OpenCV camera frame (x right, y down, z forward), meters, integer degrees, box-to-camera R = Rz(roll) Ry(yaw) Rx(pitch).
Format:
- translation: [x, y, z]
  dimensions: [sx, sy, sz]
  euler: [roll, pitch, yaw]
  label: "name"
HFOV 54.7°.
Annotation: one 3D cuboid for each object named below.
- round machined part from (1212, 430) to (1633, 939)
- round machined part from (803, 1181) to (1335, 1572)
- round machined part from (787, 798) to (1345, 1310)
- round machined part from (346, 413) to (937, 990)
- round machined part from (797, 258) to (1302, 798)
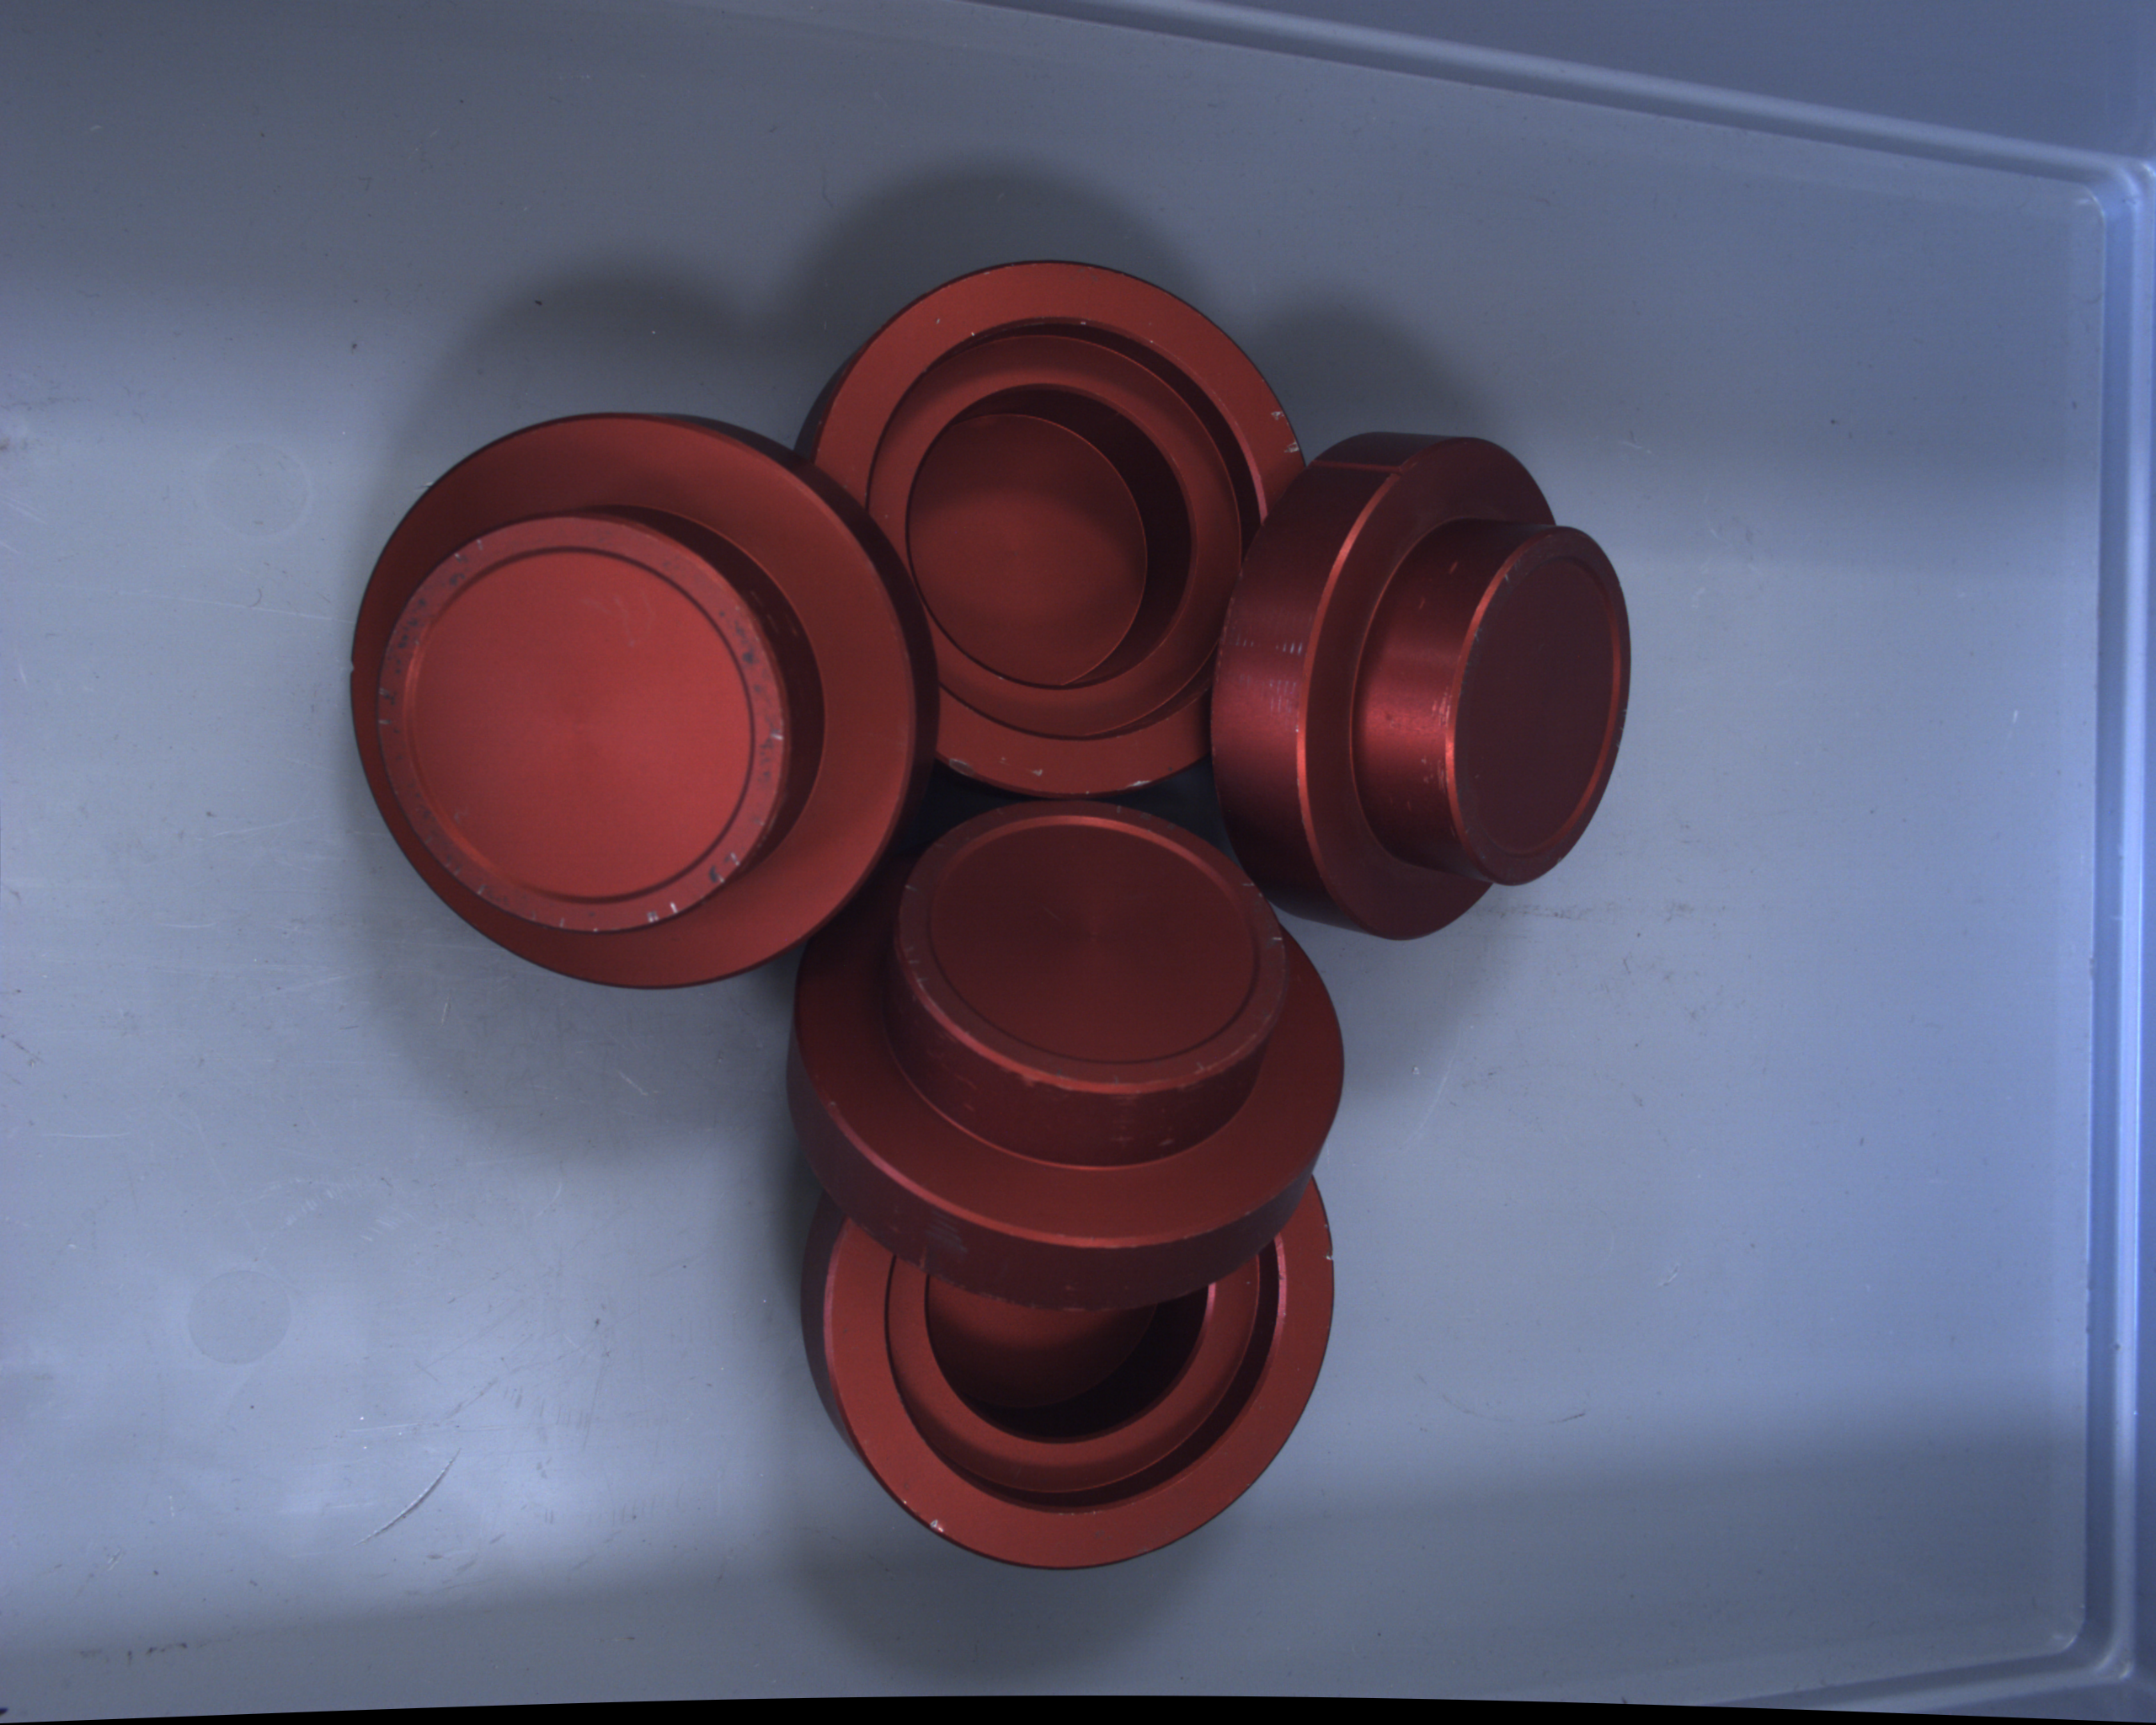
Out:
- translation: [0.072, -0.033, 0.402]
  dimensions: [0.099, 0.042, 0.097]
  euler: [-18, 114, -47]
  label: "round machined part"
- translation: [-0.004, 0.080, 0.398]
  dimensions: [0.099, 0.042, 0.097]
  euler: [0, 90, -20]
  label: "round machined part"
- translation: [-0.001, 0.026, 0.369]
  dimensions: [0.099, 0.098, 0.042]
  euler: [-7, 137, -20]
  label: "round machined part"
- translation: [-0.076, -0.025, 0.348]
  dimensions: [0.098, 0.042, 0.097]
  euler: [1, 102, 7]
  label: "round machined part"
- translation: [-0.008, -0.060, 0.396]
  dimensions: [0.099, 0.042, 0.097]
  euler: [0, 90, -20]
  label: "round machined part"
